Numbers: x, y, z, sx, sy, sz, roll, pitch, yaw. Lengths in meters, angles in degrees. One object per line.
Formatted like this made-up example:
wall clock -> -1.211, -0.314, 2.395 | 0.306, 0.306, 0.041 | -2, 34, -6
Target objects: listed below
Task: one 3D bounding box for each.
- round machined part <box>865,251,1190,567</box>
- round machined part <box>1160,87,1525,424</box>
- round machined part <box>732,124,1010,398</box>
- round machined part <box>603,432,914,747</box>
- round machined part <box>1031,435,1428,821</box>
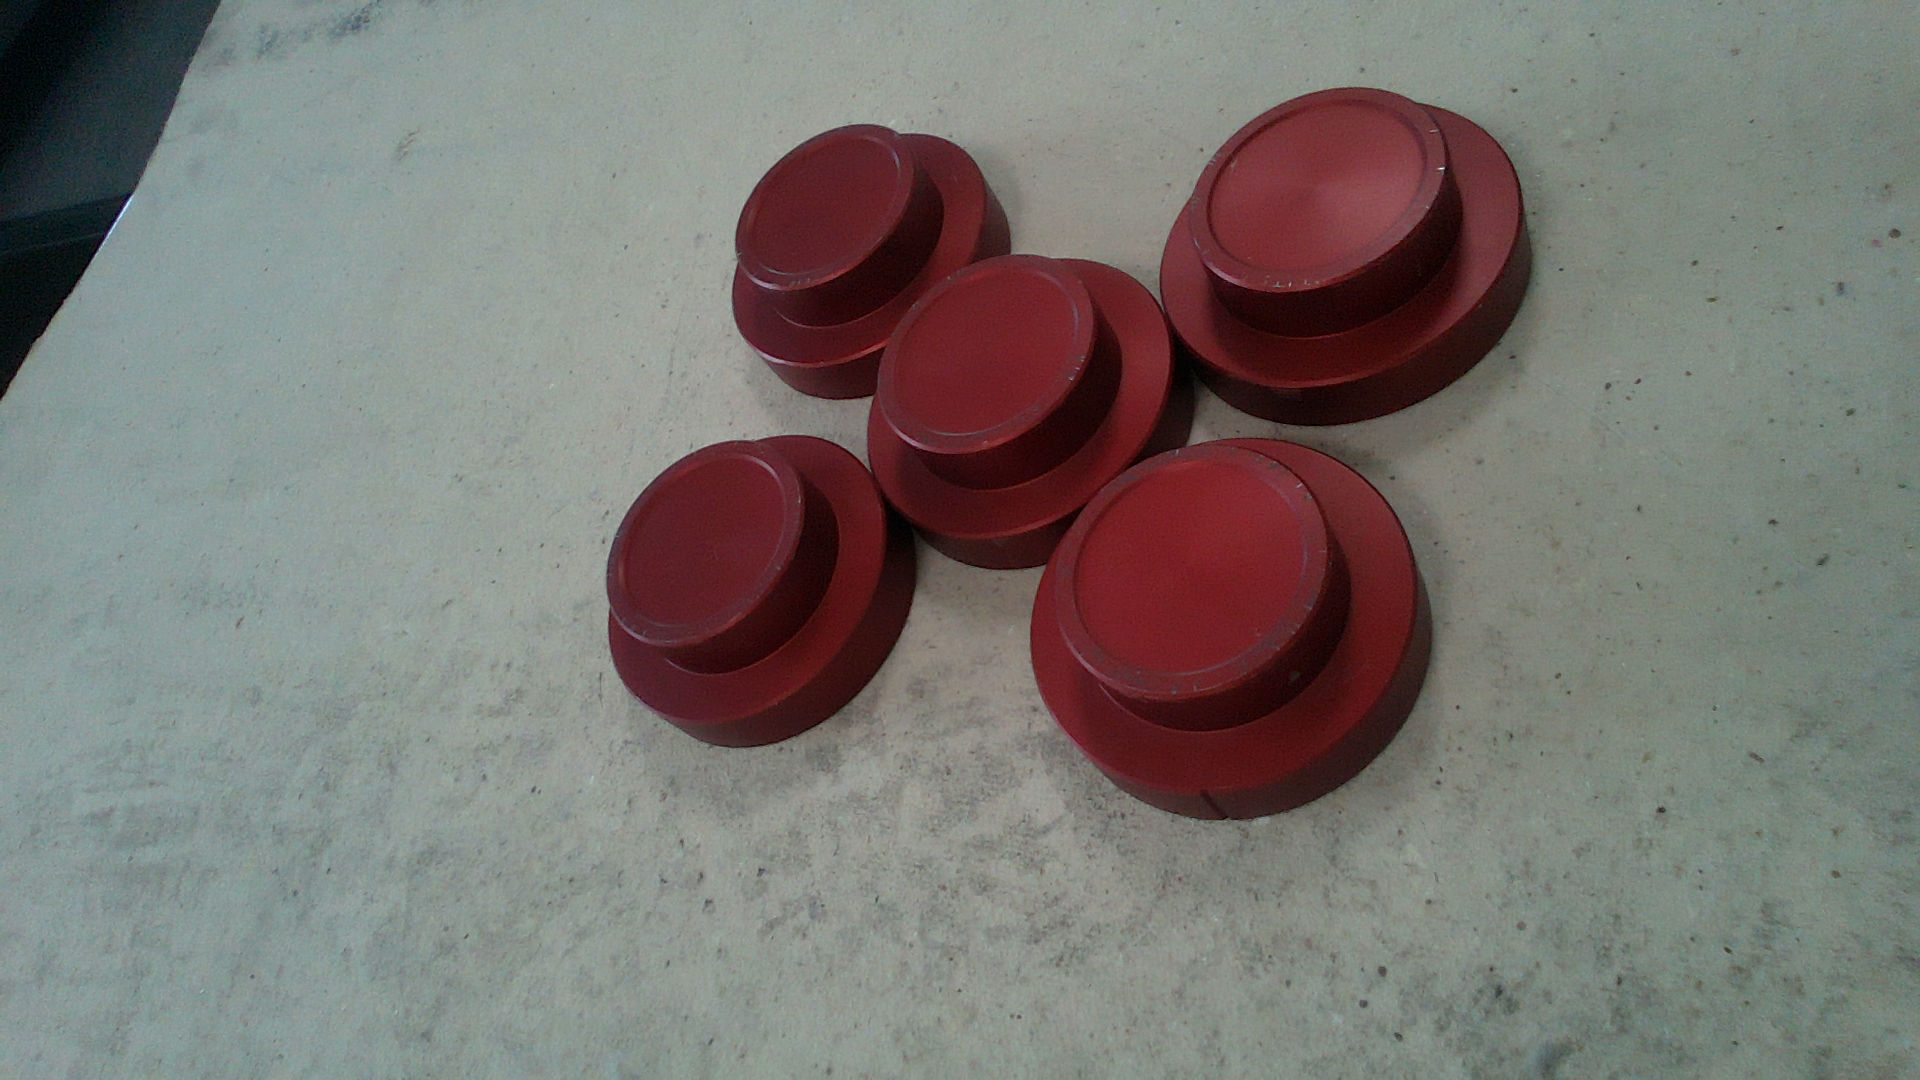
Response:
round machined part -> 0.014, -0.045, 0.403 | 0.098, 0.042, 0.098 | -14, 57, 22
round machined part -> 0.102, -0.084, 0.379 | 0.098, 0.042, 0.098 | -14, 57, 22
round machined part -> -0.036, -0.100, 0.464 | 0.098, 0.042, 0.098 | -13, 56, 21
round machined part -> -0.067, 0.009, 0.413 | 0.098, 0.042, 0.098 | -13, 57, 21
round machined part -> 0.062, 0.016, 0.340 | 0.098, 0.042, 0.098 | -14, 57, 22
